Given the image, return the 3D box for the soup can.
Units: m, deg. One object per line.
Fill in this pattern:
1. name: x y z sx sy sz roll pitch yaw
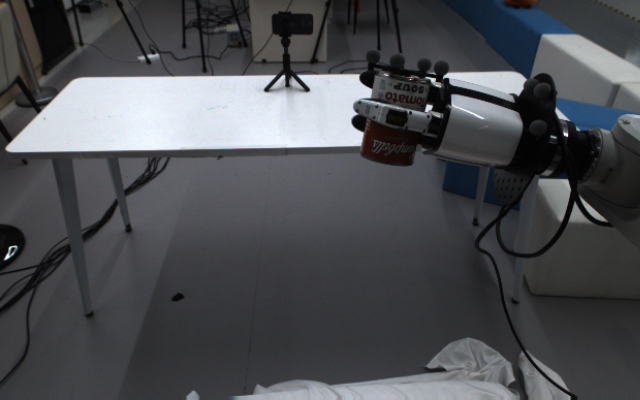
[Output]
1. soup can: 0.091 -0.099 0.583 0.067 0.101 0.067 9 19 -3
